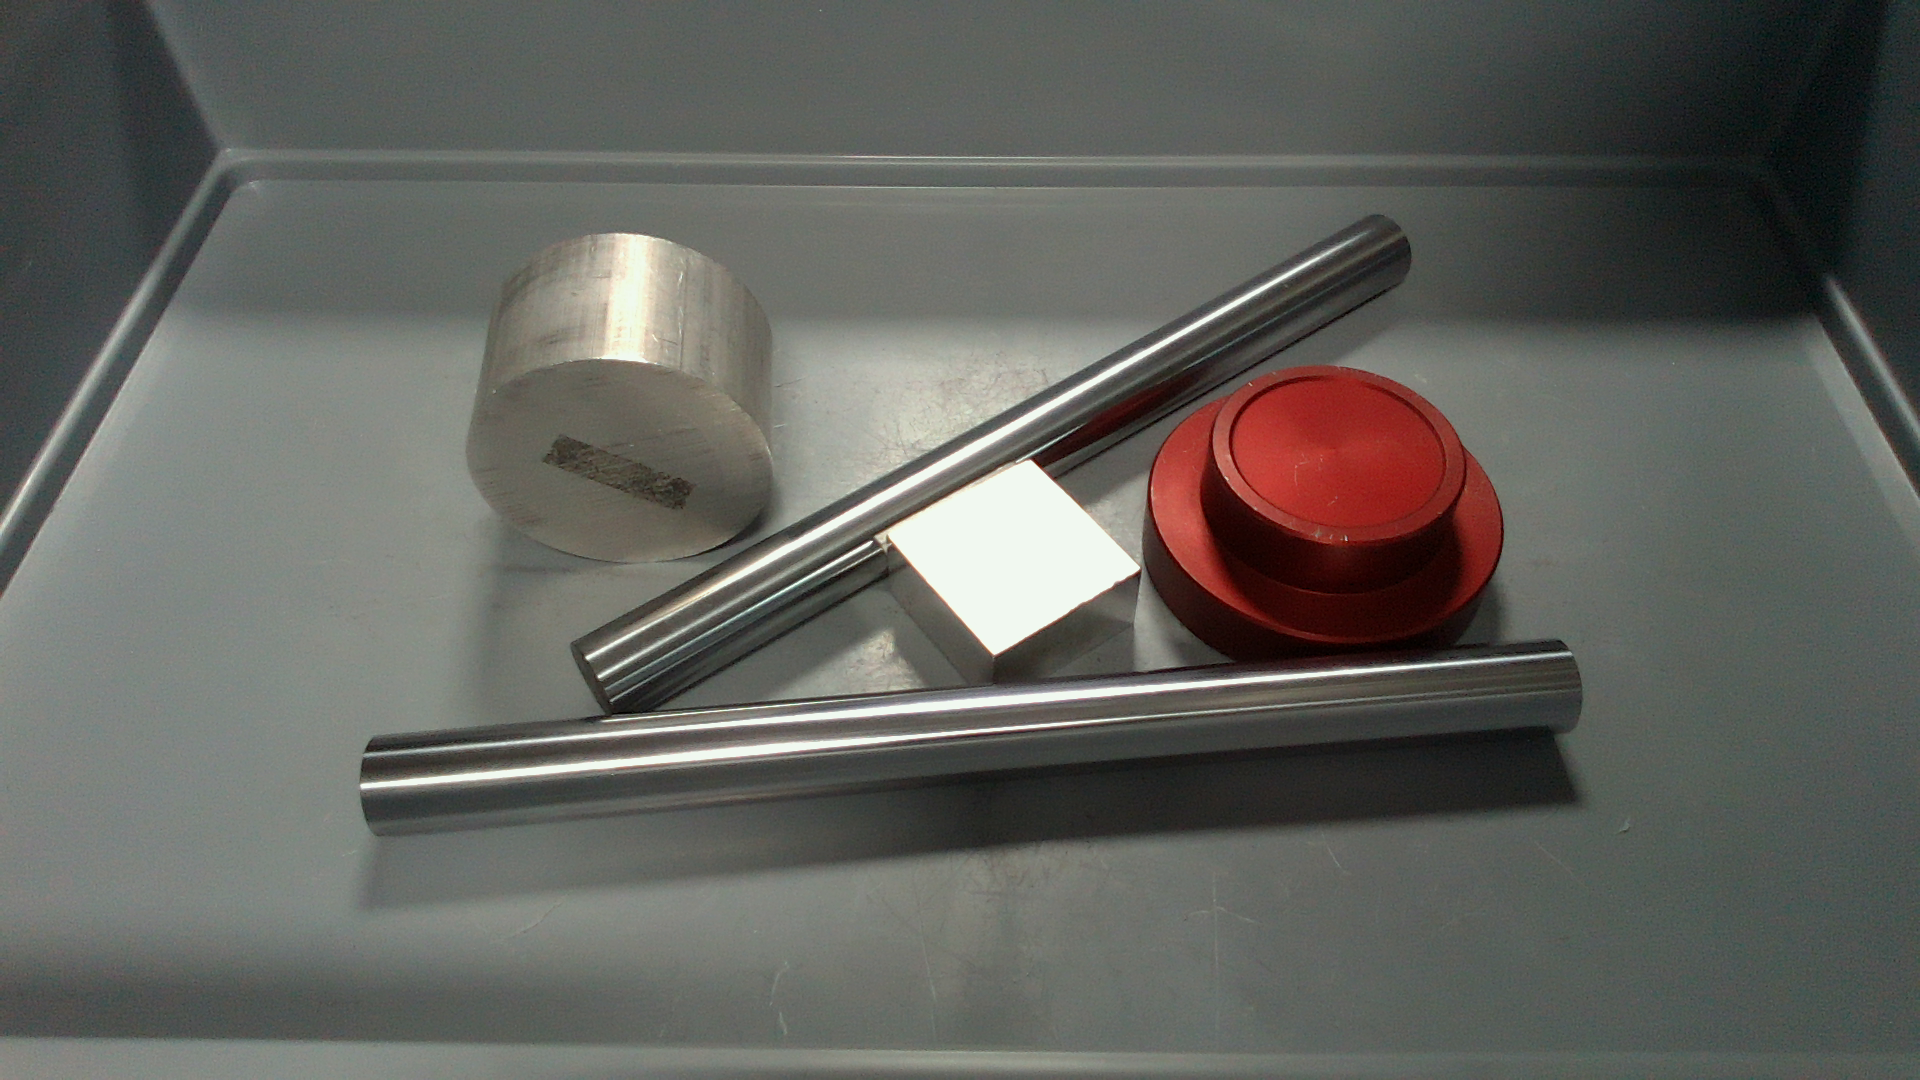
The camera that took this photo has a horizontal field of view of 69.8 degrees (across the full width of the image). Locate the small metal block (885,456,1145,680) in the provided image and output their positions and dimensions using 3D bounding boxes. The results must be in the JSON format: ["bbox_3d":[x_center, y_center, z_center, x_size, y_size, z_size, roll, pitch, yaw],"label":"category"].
[{"bbox_3d":[0.015,0.011,0.380,0.050,0.025,0.050,-29,56,-22],"label":"small metal block"}]

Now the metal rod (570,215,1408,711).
[{"bbox_3d":[0.024,-0.031,0.417,0.301,0.025,0.025,-30,56,-23],"label":"metal rod"}]

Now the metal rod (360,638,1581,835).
[{"bbox_3d":[0.006,0.049,0.349,0.300,0.025,0.025,-4,50,-4],"label":"metal rod"}]

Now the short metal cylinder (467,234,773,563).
[{"bbox_3d":[-0.093,-0.038,0.387,0.080,0.080,0.050,-4,50,-3],"label":"short metal cylinder"}]

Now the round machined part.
[{"bbox_3d":[0.102,-0.012,0.387,0.098,0.042,0.098,0,50,0],"label":"round machined part"}]
